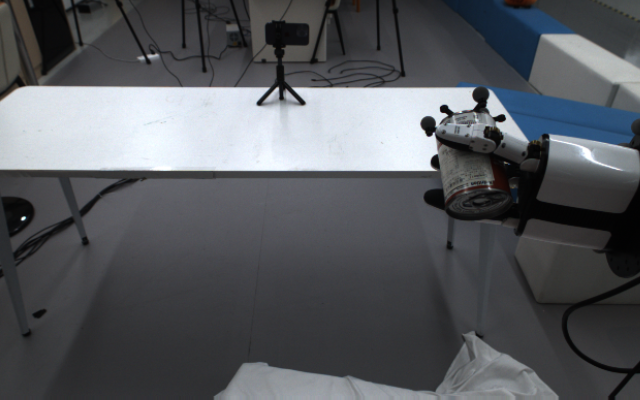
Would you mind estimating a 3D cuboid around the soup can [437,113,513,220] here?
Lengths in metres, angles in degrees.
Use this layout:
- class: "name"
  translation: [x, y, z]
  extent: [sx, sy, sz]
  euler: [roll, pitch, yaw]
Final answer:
- class: "soup can"
  translation: [0.165, -0.039, 0.526]
  extent: [0.067, 0.067, 0.101]
  euler: [0, 62, -2]
